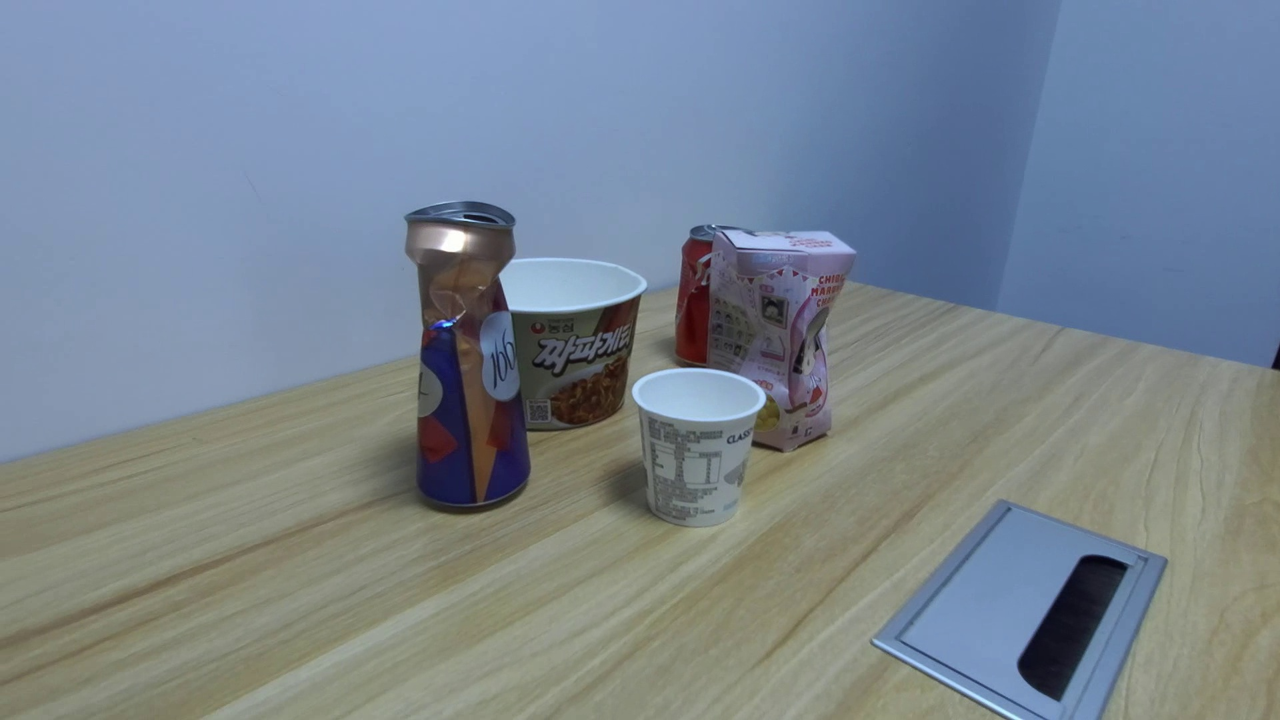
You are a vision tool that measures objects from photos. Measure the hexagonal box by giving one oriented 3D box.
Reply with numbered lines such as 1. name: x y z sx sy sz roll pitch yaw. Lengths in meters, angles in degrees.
1. hexagonal box: 0.088 -0.015 0.470 0.093 0.134 0.089 8 21 15

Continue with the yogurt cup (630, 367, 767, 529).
1. yogurt cup: 0.031 0.048 0.388 0.072 0.068 0.072 1 22 0

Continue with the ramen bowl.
1. ramen bowl: -0.067 -0.012 0.516 0.140 0.095 0.140 0 20 0

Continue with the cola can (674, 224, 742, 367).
1. cola can: 0.066 -0.056 0.611 0.067 0.117 0.065 -8 20 -21

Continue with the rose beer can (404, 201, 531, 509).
1. rose beer can: -0.096 -0.001 0.388 0.068 0.162 0.073 -13 27 -34
